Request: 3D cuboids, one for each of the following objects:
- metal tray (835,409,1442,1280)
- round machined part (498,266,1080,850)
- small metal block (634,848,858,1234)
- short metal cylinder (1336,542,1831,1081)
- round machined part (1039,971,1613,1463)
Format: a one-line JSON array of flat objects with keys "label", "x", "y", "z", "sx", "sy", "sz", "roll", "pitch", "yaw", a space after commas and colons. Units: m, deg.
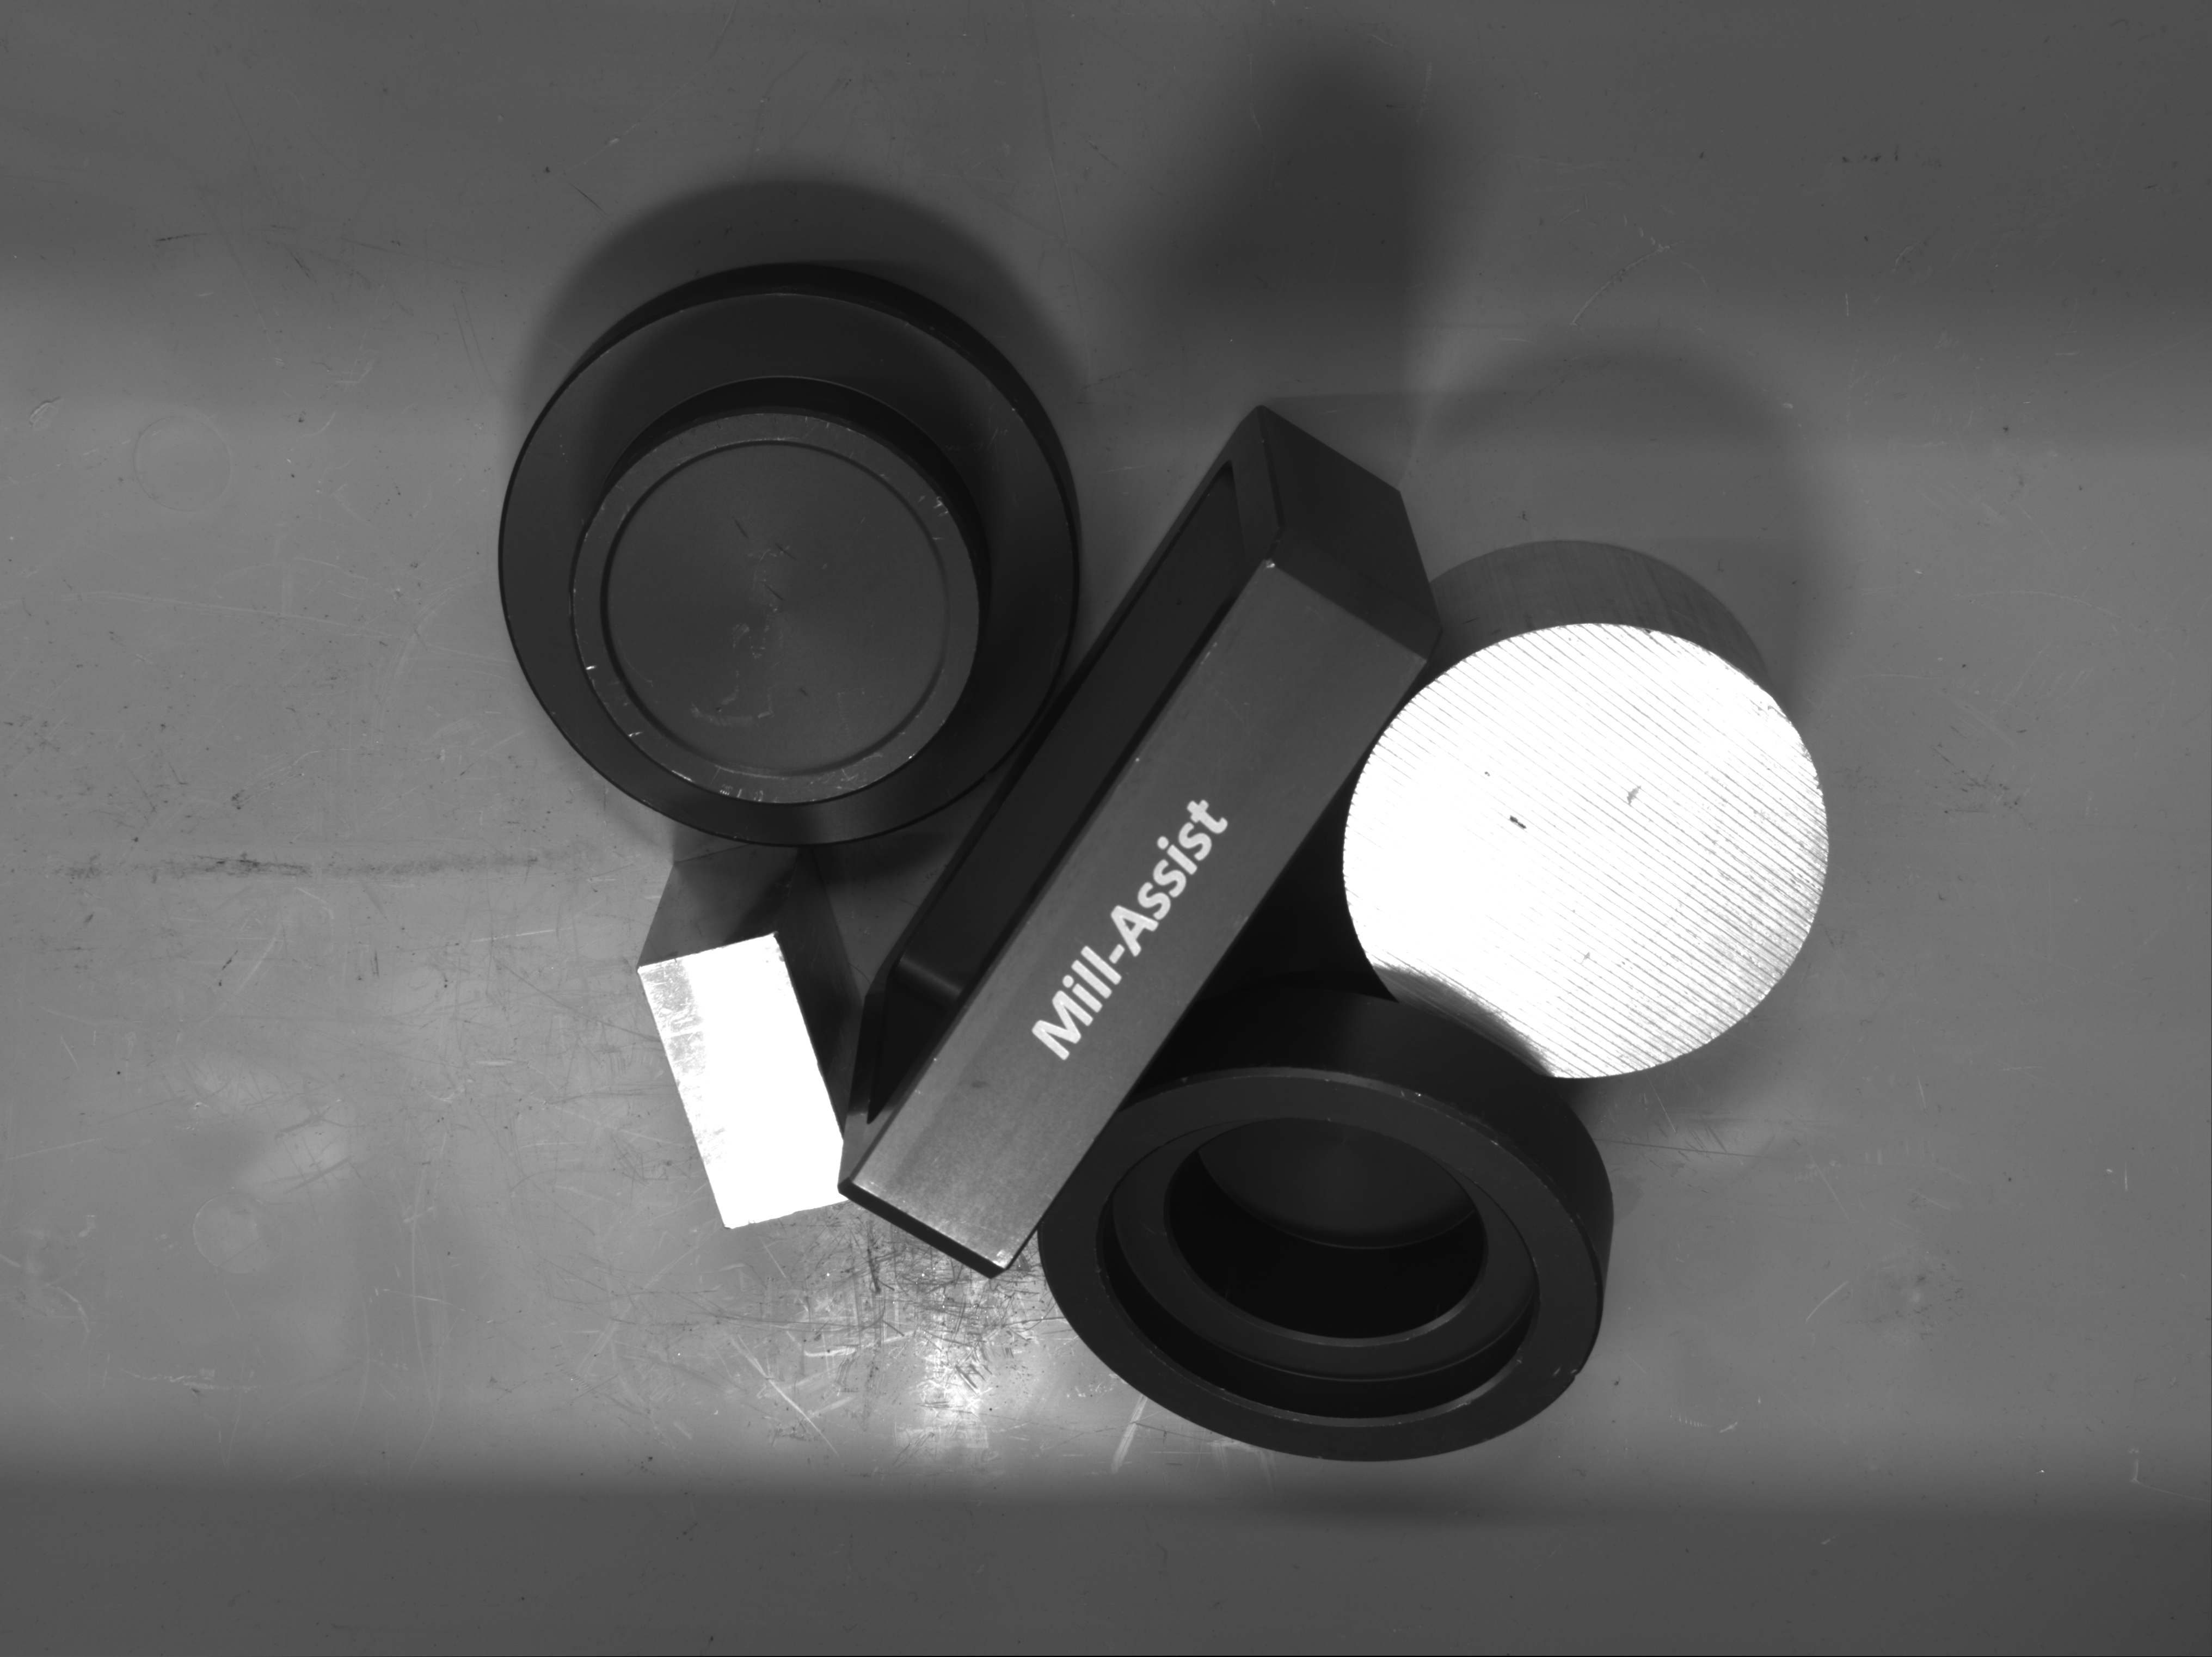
[{"label": "metal tray", "x": 0.004, "y": 0.000, "z": 0.608, "sx": 0.030, "sy": 0.090, "sz": 0.130, "roll": 31, "pitch": 107, "yaw": -10}, {"label": "round machined part", "x": -0.053, "y": -0.042, "z": 0.617, "sx": 0.098, "sy": 0.042, "sz": 0.098, "roll": 0, "pitch": 110, "yaw": 0}, {"label": "small metal block", "x": -0.060, "y": 0.035, "z": 0.641, "sx": 0.025, "sy": 0.050, "sz": 0.050, "roll": -14, "pitch": 109, "yaw": 5}, {"label": "short metal cylinder", "x": 0.079, "y": -0.004, "z": 0.628, "sx": 0.080, "sy": 0.050, "sz": 0.080, "roll": 0, "pitch": 110, "yaw": 0}, {"label": "round machined part", "x": 0.040, "y": 0.064, "z": 0.645, "sx": 0.098, "sy": 0.042, "sz": 0.098, "roll": 7, "pitch": 132, "yaw": 8}]
